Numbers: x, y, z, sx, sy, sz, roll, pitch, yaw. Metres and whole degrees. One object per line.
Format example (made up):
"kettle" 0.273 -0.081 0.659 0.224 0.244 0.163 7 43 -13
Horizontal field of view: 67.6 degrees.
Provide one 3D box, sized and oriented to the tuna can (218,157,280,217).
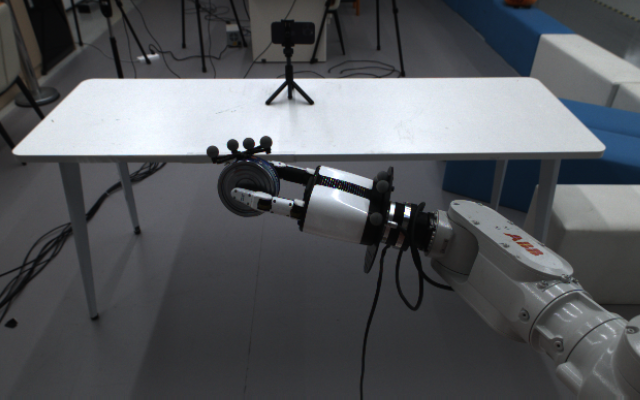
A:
"tuna can" -0.099 -0.013 0.693 0.085 0.085 0.034 6 18 5
